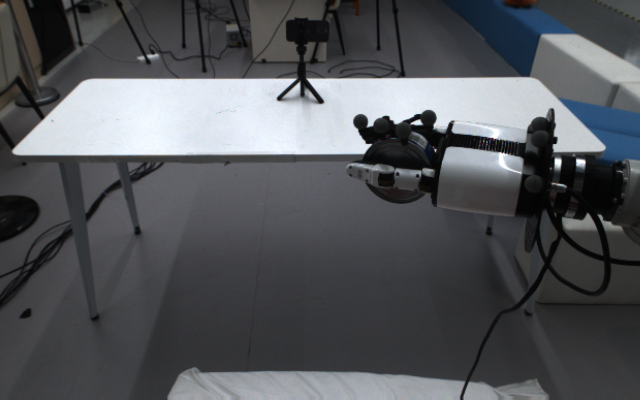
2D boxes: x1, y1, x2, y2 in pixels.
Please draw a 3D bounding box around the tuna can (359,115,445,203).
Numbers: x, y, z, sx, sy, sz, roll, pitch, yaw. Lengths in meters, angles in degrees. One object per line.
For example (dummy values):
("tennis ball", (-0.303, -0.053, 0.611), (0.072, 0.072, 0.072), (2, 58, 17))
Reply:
("tuna can", (0.097, -0.042, 0.581), (0.085, 0.085, 0.034), (15, 34, 17))
